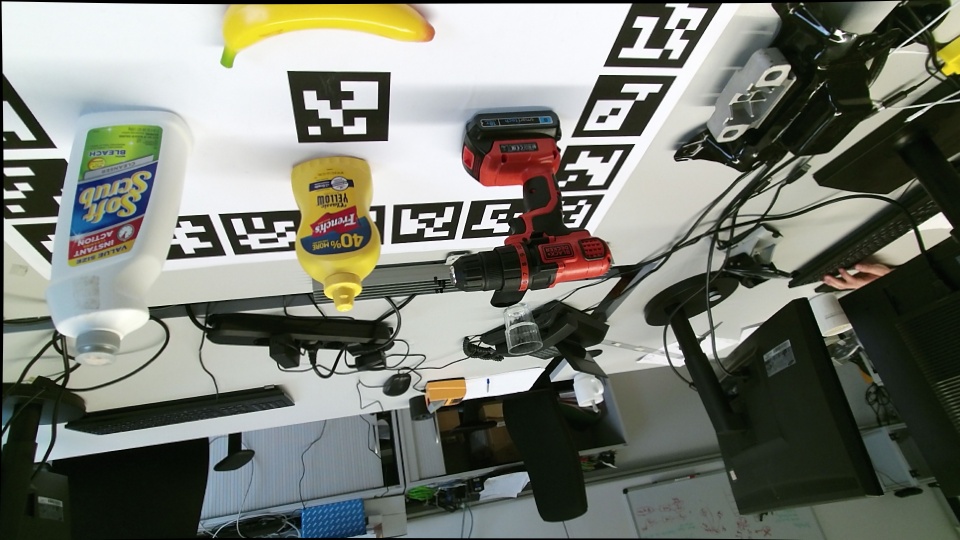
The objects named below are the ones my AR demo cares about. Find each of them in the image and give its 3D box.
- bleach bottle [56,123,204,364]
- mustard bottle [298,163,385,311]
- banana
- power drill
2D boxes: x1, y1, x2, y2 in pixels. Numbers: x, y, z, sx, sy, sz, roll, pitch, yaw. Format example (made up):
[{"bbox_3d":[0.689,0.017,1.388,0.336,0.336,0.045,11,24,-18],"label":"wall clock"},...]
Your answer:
[{"bbox_3d":[-0.331,-0.031,0.516,0.103,0.249,0.068,0,147,-21],"label":"bleach bottle"},{"bbox_3d":[-0.163,-0.039,0.631,0.096,0.190,0.058,-8,149,-6],"label":"mustard bottle"},{"bbox_3d":[-0.138,-0.208,0.488,0.198,0.038,0.074,-10,148,-11],"label":"banana"},{"bbox_3d":[0.035,-0.054,0.623,0.185,0.186,0.057,-11,150,-11],"label":"power drill"}]
